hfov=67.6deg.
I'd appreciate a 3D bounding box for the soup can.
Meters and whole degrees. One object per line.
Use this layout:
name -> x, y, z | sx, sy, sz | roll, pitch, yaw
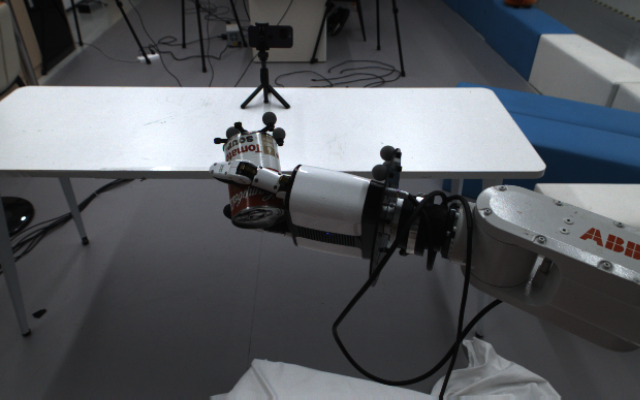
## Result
soup can -> -0.077, -0.023, 0.590 | 0.067, 0.067, 0.101 | -6, 67, -12
